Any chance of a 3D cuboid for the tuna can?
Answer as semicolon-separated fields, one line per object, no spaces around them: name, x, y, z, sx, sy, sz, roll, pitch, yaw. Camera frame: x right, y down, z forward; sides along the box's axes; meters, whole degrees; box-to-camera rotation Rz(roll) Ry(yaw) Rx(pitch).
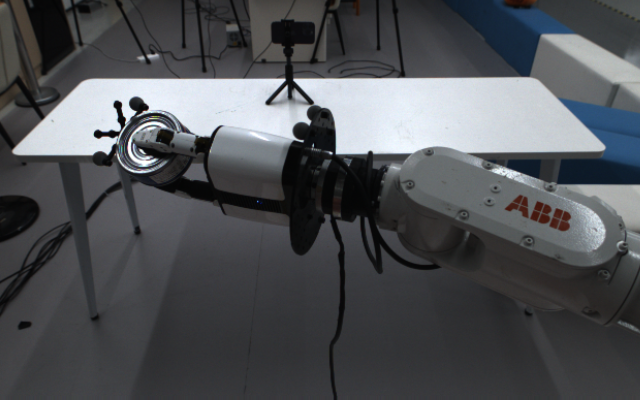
tuna can;-0.191;-0.062;0.567;0.085;0.034;0.085;-3;71;9
